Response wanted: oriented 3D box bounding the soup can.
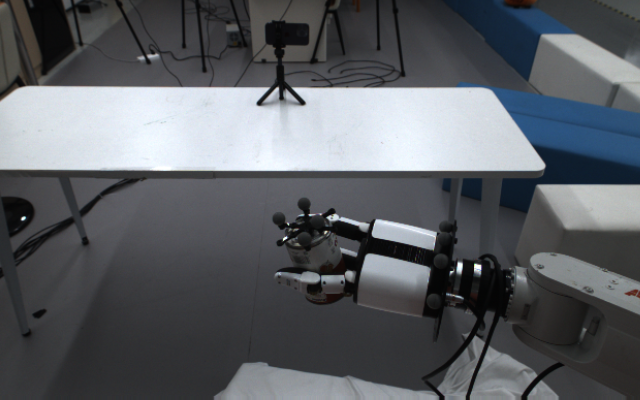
[{"bbox_3d":[-0.001,0.081,0.646,0.067,0.101,0.067,-13,31,8],"label":"soup can"}]
